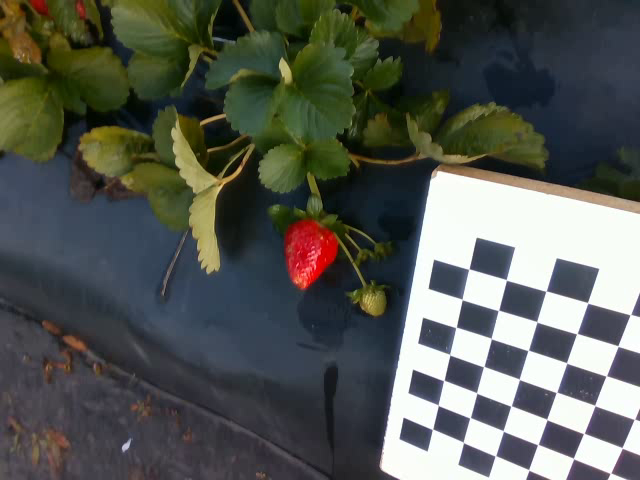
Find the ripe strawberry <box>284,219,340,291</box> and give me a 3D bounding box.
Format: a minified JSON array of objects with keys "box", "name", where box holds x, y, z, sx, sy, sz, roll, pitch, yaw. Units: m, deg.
[{"box":[-0.009,0.016,0.451,0.043,0.057,0.052,-8,-42,35],"name":"ripe strawberry"}]
